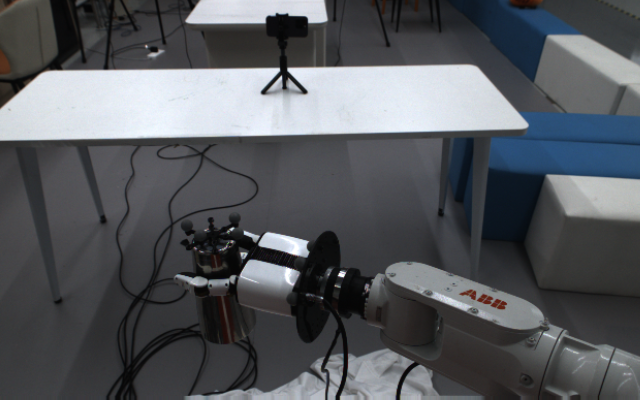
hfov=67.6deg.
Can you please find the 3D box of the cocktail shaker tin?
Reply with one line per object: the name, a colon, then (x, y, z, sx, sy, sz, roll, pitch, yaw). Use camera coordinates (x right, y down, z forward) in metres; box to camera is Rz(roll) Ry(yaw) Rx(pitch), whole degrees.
cocktail shaker tin: (-0.150, 0.127, 0.750, 0.093, 0.170, 0.093, -1, 33, 1)
